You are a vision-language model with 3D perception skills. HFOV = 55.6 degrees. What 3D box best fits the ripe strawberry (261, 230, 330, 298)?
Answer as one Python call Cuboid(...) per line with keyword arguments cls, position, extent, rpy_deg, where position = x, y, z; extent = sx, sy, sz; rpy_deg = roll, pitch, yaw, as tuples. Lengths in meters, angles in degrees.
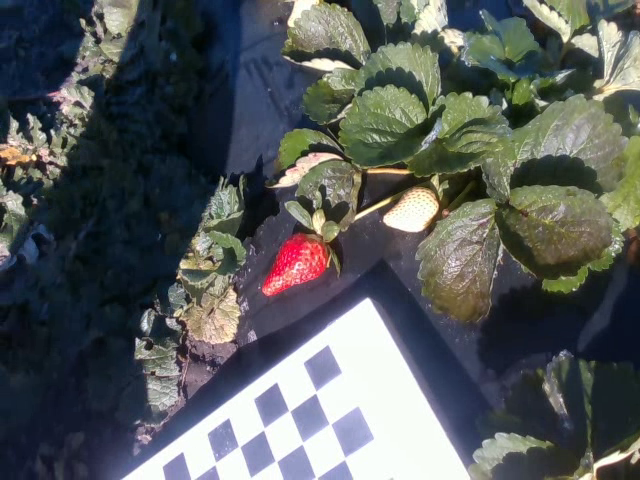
Cuboid(cls="ripe strawberry", position=(-0.022, 0.020, 0.456), extent=(0.048, 0.069, 0.040), rpy_deg=(40, 0, 38))
